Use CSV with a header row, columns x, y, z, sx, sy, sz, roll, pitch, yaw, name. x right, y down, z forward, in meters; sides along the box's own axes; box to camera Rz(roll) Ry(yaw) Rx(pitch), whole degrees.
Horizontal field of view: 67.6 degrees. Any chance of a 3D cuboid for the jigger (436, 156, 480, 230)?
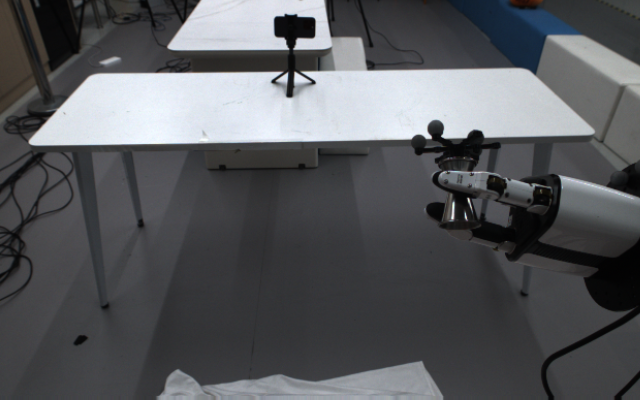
x,y,z,sx,sy,sz,roll,pitch,yaw,name
0.144,-0.008,0.507,0.043,0.043,0.071,3,76,1,jigger
